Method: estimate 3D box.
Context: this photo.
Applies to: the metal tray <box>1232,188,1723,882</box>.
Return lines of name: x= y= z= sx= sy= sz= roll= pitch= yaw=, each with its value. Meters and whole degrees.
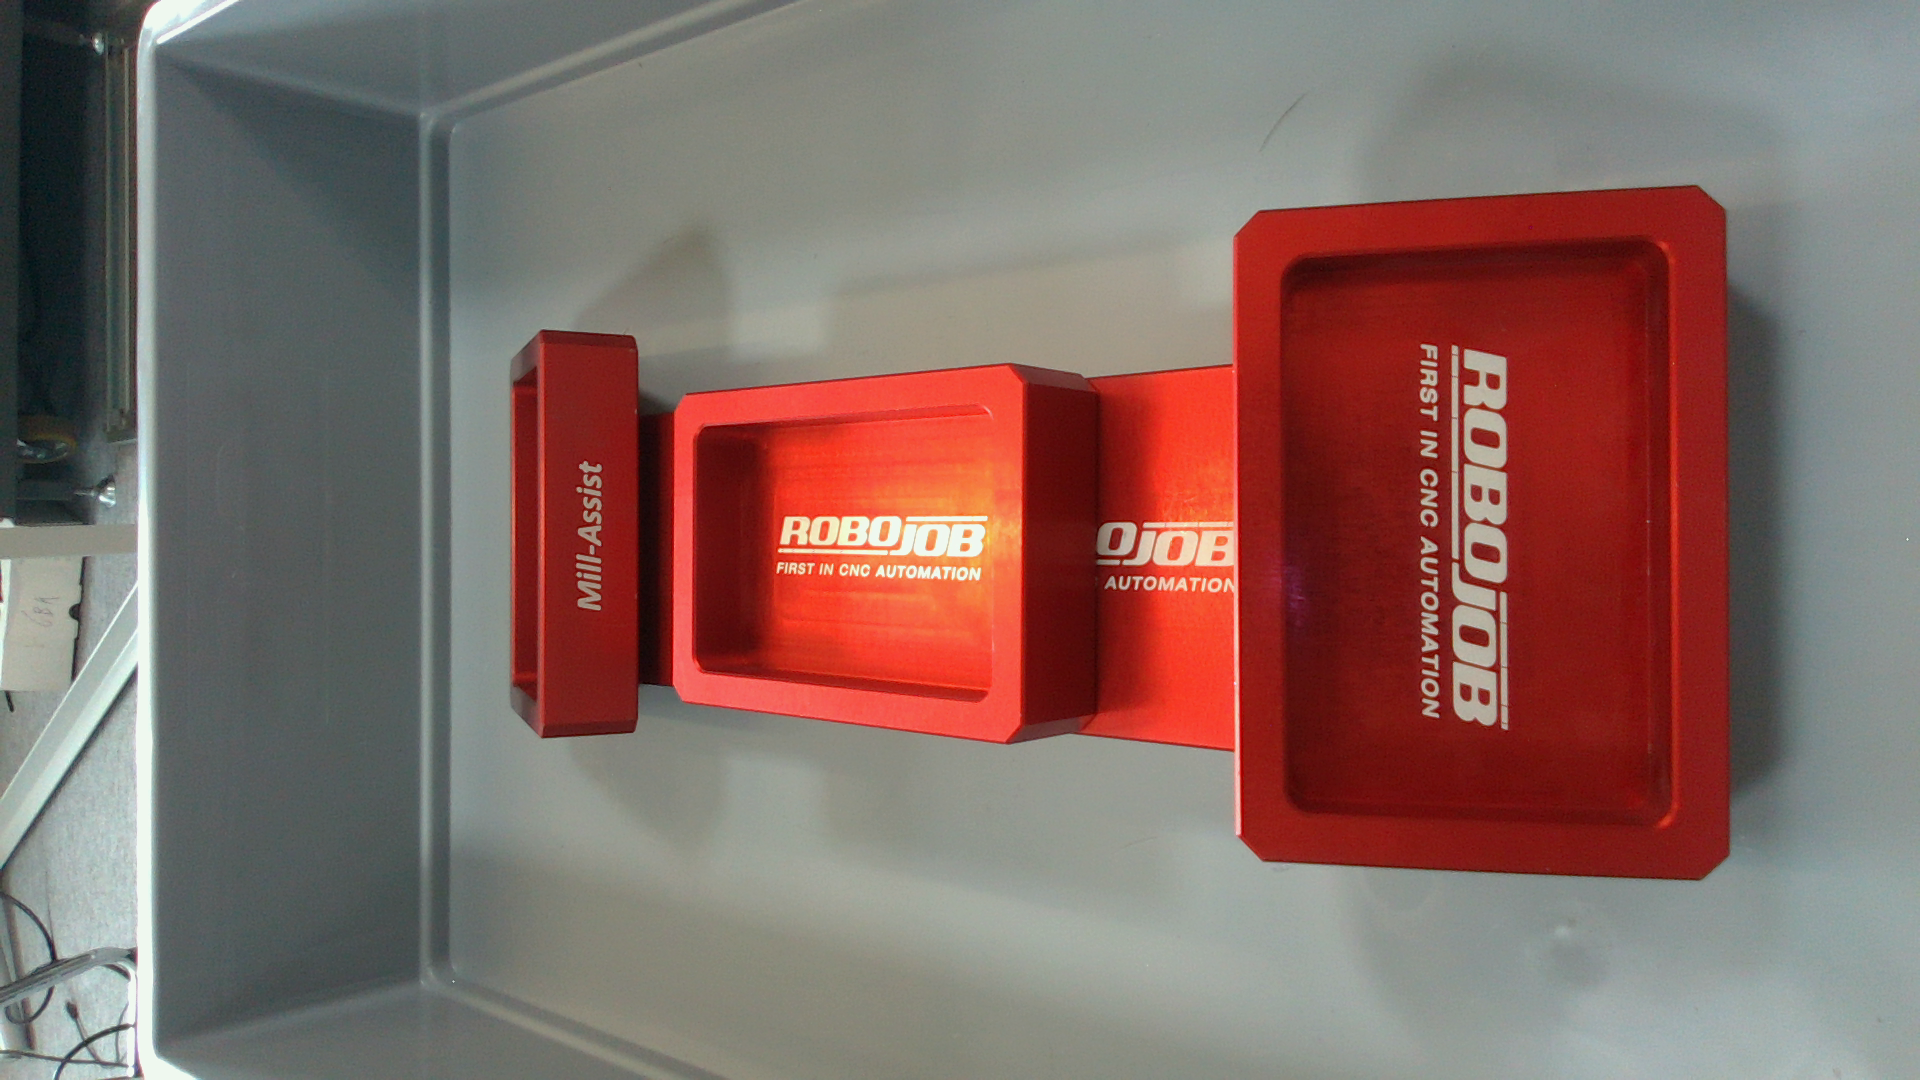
metal tray: x=0.101 y=-0.001 z=0.279 sx=0.090 sy=0.030 sz=0.130 roll=0 pitch=90 yaw=12

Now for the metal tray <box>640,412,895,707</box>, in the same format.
metal tray: x=-0.054 y=0.003 z=0.436 sx=0.129 sy=0.030 sz=0.090 roll=0 pitch=90 yaw=40

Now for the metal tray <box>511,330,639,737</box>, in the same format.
metal tray: x=-0.136 y=-0.002 z=0.481 sx=0.090 sy=0.030 sz=0.130 roll=-179 pitch=89 yaw=-66

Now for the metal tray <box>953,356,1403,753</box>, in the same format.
metal tray: x=0.045 y=0.004 z=0.353 sx=0.129 sy=0.030 sz=0.090 roll=0 pitch=90 yaw=40

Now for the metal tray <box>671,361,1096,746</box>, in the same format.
metal tray: x=-0.025 y=0.003 z=0.372 sx=0.129 sy=0.030 sz=0.090 roll=1 pitch=90 yaw=40
